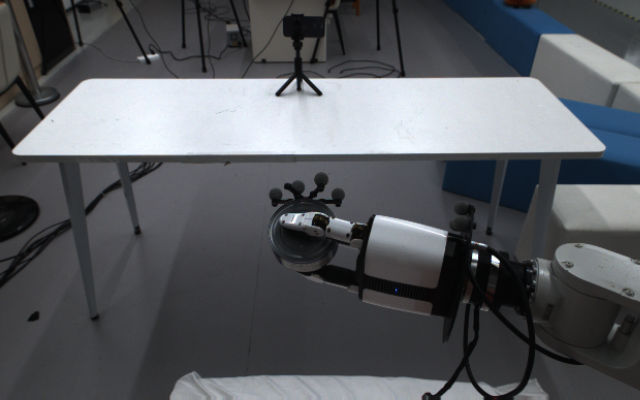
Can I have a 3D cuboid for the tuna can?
[{"bbox_3d":[-0.017,0.047,0.584,0.085,0.034,0.085,-1,59,2],"label":"tuna can"}]
